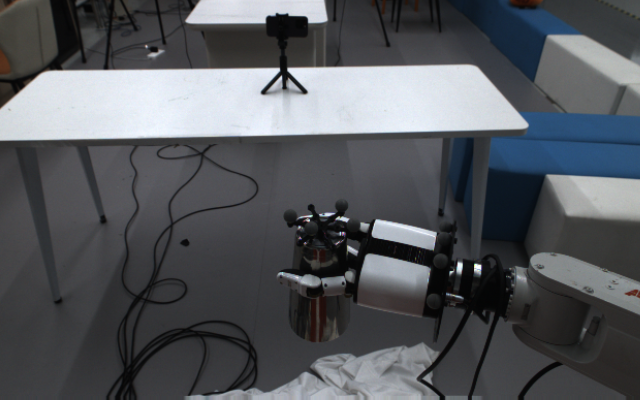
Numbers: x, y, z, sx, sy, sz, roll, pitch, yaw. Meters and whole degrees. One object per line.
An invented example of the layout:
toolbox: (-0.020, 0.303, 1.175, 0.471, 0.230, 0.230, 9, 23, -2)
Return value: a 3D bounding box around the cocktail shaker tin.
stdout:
cocktail shaker tin: (0.004, 0.103, 0.669, 0.093, 0.170, 0.093, 1, 39, -1)
